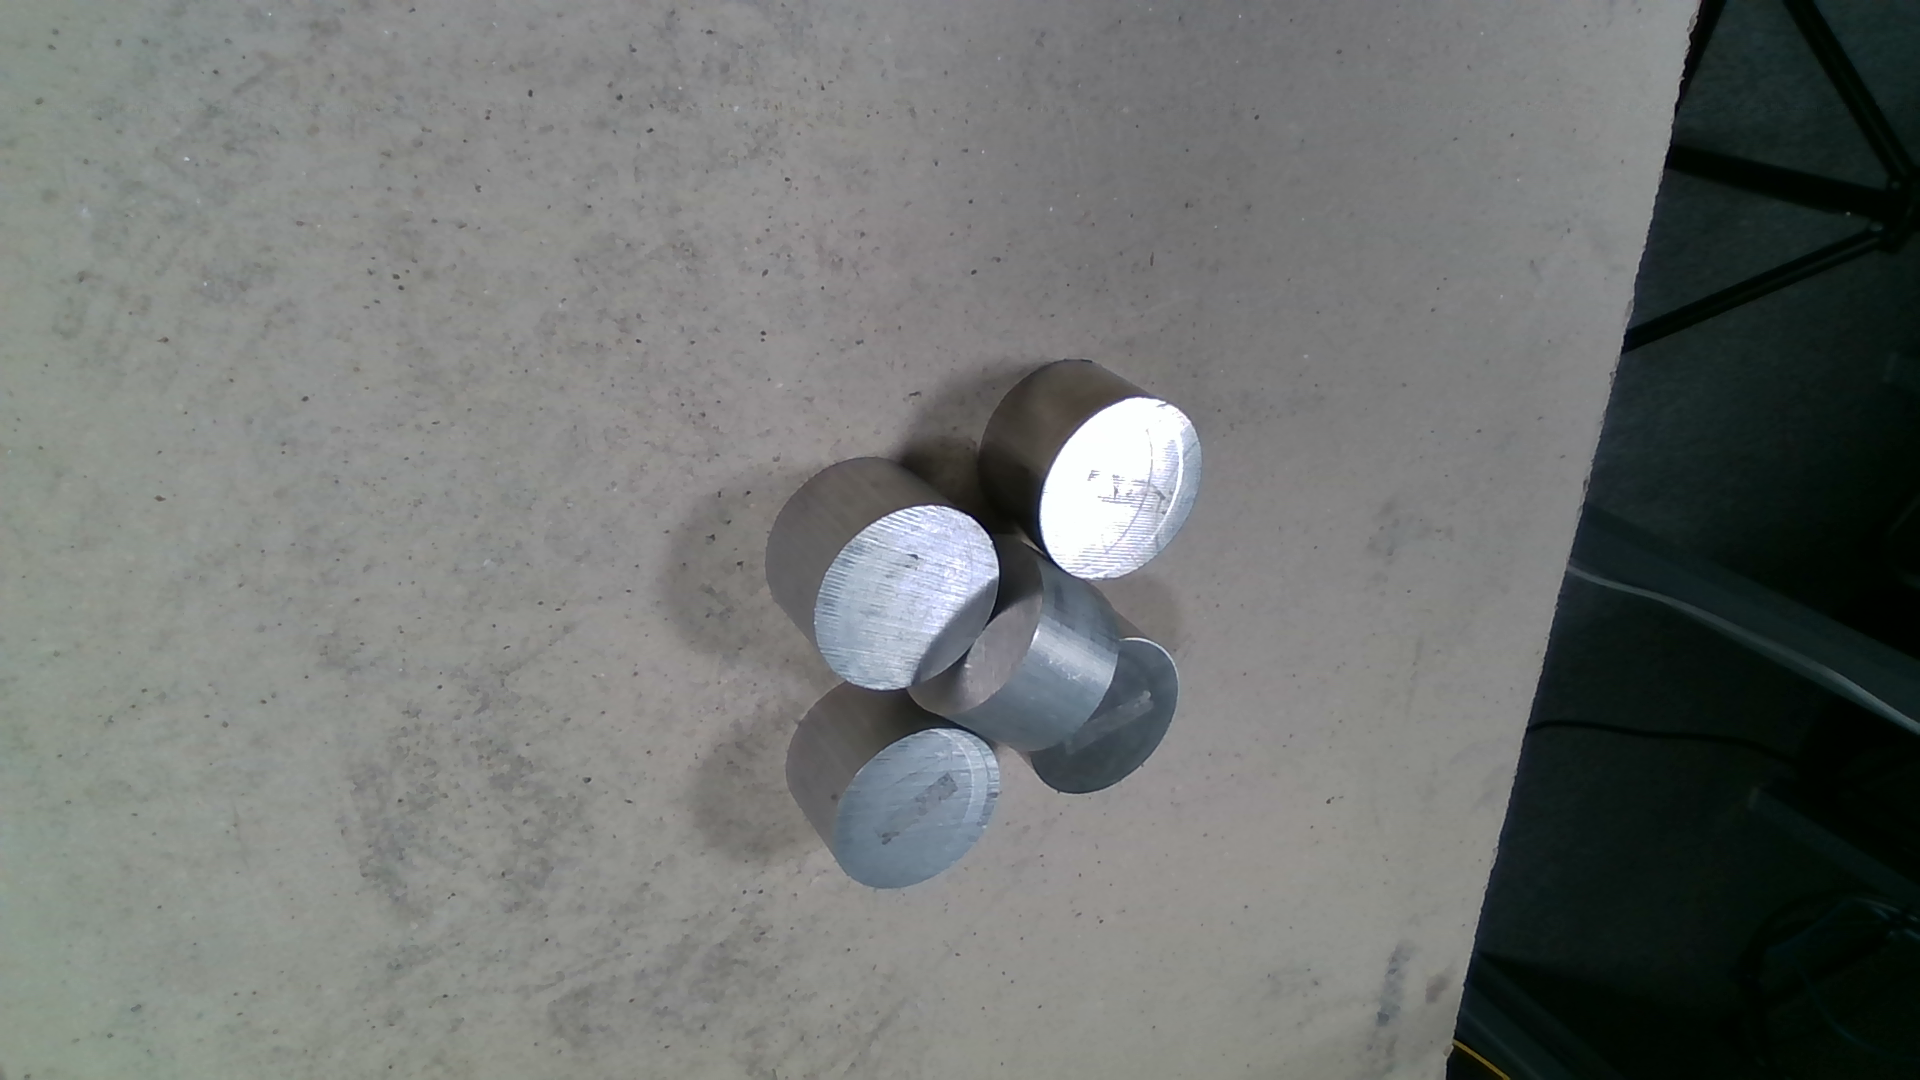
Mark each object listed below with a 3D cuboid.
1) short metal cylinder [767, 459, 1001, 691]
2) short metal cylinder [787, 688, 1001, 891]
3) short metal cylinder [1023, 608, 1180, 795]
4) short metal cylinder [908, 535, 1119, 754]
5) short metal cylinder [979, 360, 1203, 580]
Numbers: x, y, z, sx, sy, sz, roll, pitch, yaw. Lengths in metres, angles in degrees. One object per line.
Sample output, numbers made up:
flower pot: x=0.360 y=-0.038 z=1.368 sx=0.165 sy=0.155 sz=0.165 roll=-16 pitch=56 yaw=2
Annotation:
short metal cylinder: x=-0.031 y=0.013 z=0.552 sx=0.080 sy=0.050 sz=0.080 roll=-14 pitch=122 yaw=-25
short metal cylinder: x=-0.029 y=0.105 z=0.602 sx=0.080 sy=0.050 sz=0.080 roll=-14 pitch=122 yaw=-25
short metal cylinder: x=0.054 y=0.070 z=0.633 sx=0.080 sy=0.050 sz=0.080 roll=-14 pitch=122 yaw=-25
short metal cylinder: x=0.020 y=0.045 z=0.582 sx=0.050 sy=0.080 sz=0.080 roll=30 pitch=97 yaw=-39
short metal cylinder: x=0.055 y=-0.030 z=0.581 sx=0.080 sy=0.050 sz=0.080 roll=-14 pitch=122 yaw=-25
